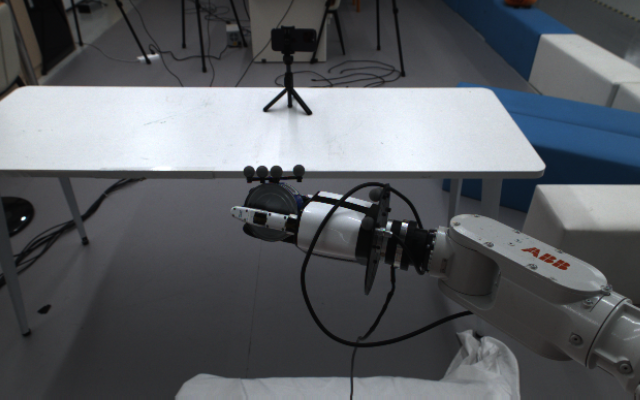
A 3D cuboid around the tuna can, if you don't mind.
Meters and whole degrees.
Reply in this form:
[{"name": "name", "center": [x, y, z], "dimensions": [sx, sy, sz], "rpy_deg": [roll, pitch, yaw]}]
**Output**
[{"name": "tuna can", "center": [-0.066, 0.016, 0.708], "dimensions": [0.085, 0.085, 0.034], "rpy_deg": [15, 10, 18]}]
